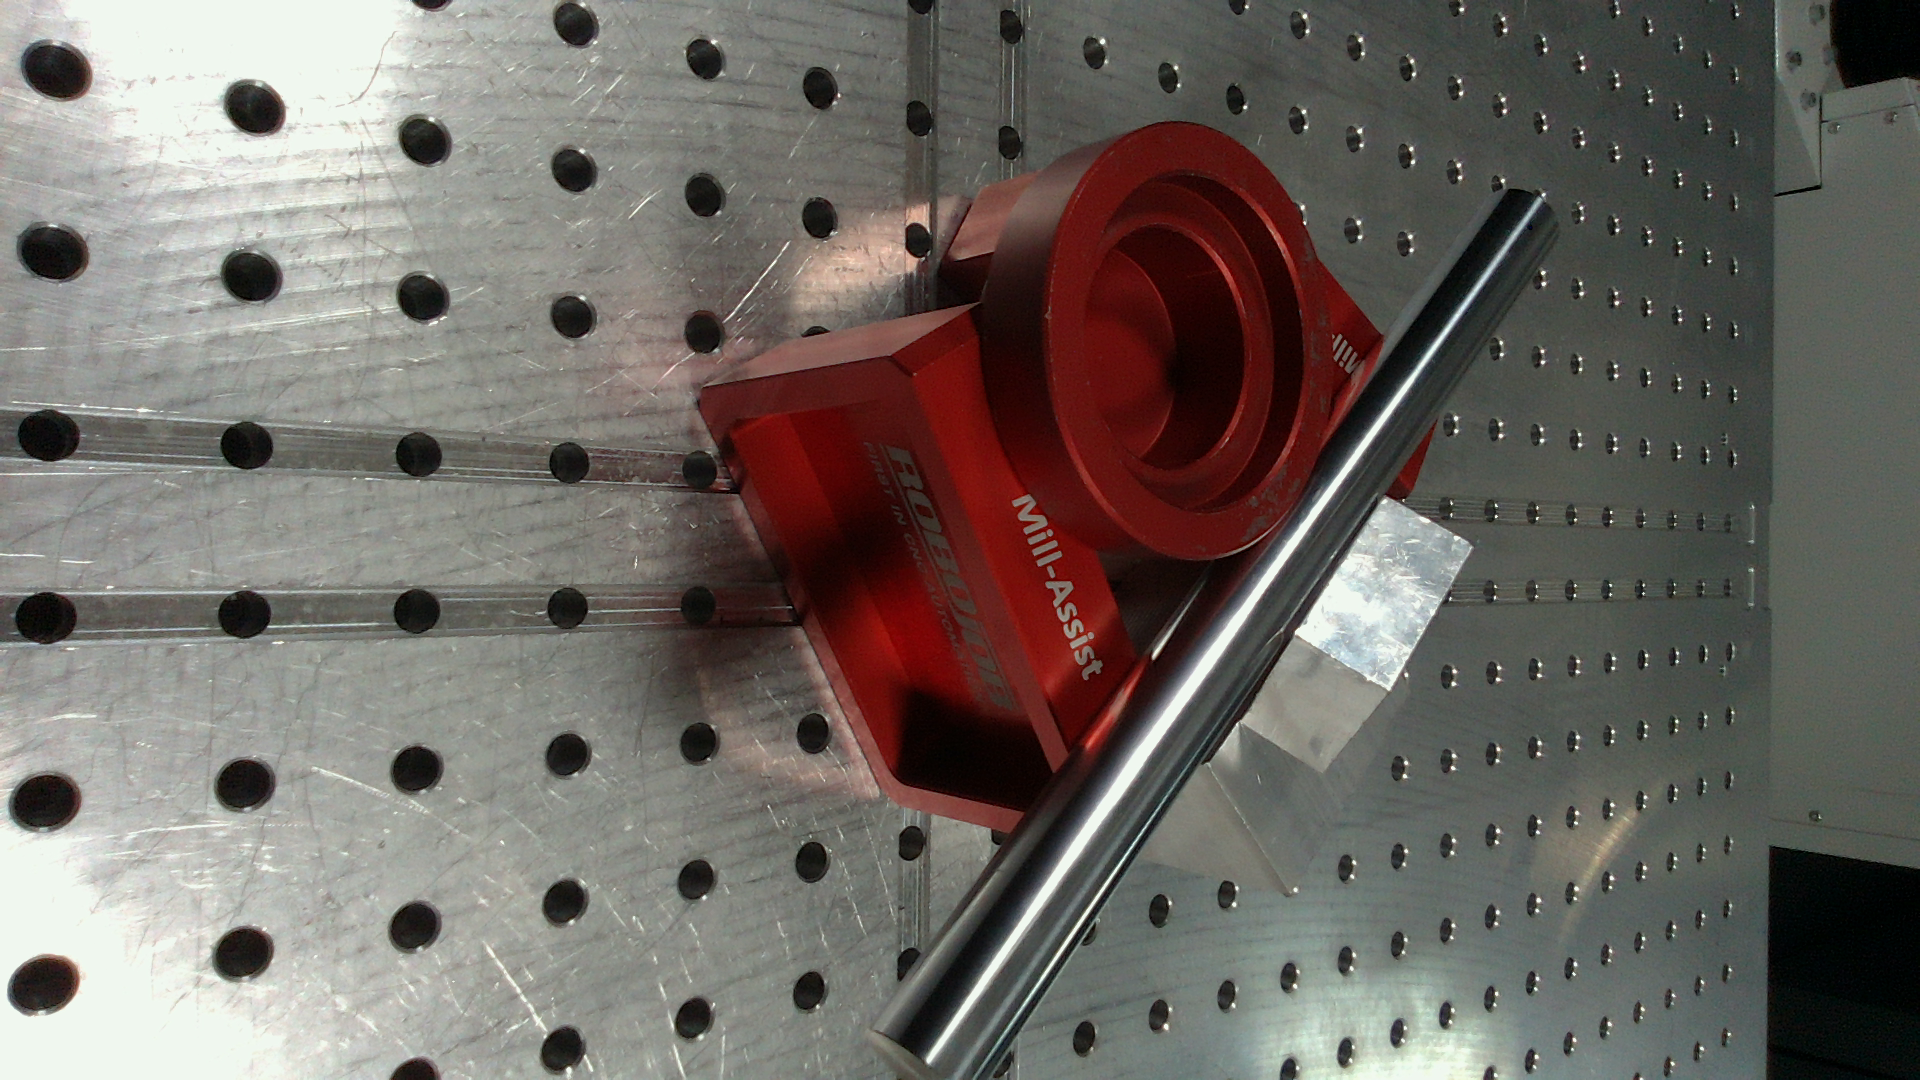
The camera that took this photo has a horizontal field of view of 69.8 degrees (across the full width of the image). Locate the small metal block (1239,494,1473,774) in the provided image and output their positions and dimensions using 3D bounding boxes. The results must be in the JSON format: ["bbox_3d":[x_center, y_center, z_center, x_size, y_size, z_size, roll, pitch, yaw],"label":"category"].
[{"bbox_3d":[0.101,0.025,0.354,0.025,0.050,0.050,32,61,14],"label":"small metal block"}]

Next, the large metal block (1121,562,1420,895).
[{"bbox_3d":[0.078,0.052,0.417,0.080,0.080,0.050,-49,119,-29],"label":"large metal block"}]

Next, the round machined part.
[{"bbox_3d":[0.041,-0.045,0.326,0.098,0.042,0.098,0,90,-40],"label":"round machined part"}]

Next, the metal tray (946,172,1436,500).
[{"bbox_3d":[0.070,-0.059,0.407,0.130,0.090,0.030,38,68,-33],"label":"metal tray"}]

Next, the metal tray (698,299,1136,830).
[{"bbox_3d":[-0.006,0.010,0.344,0.030,0.090,0.130,-36,112,-34],"label":"metal tray"}]

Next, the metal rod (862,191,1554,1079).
[{"bbox_3d":[0.078,0.005,0.340,0.301,0.025,0.025,-48,119,-29],"label":"metal rod"}]
